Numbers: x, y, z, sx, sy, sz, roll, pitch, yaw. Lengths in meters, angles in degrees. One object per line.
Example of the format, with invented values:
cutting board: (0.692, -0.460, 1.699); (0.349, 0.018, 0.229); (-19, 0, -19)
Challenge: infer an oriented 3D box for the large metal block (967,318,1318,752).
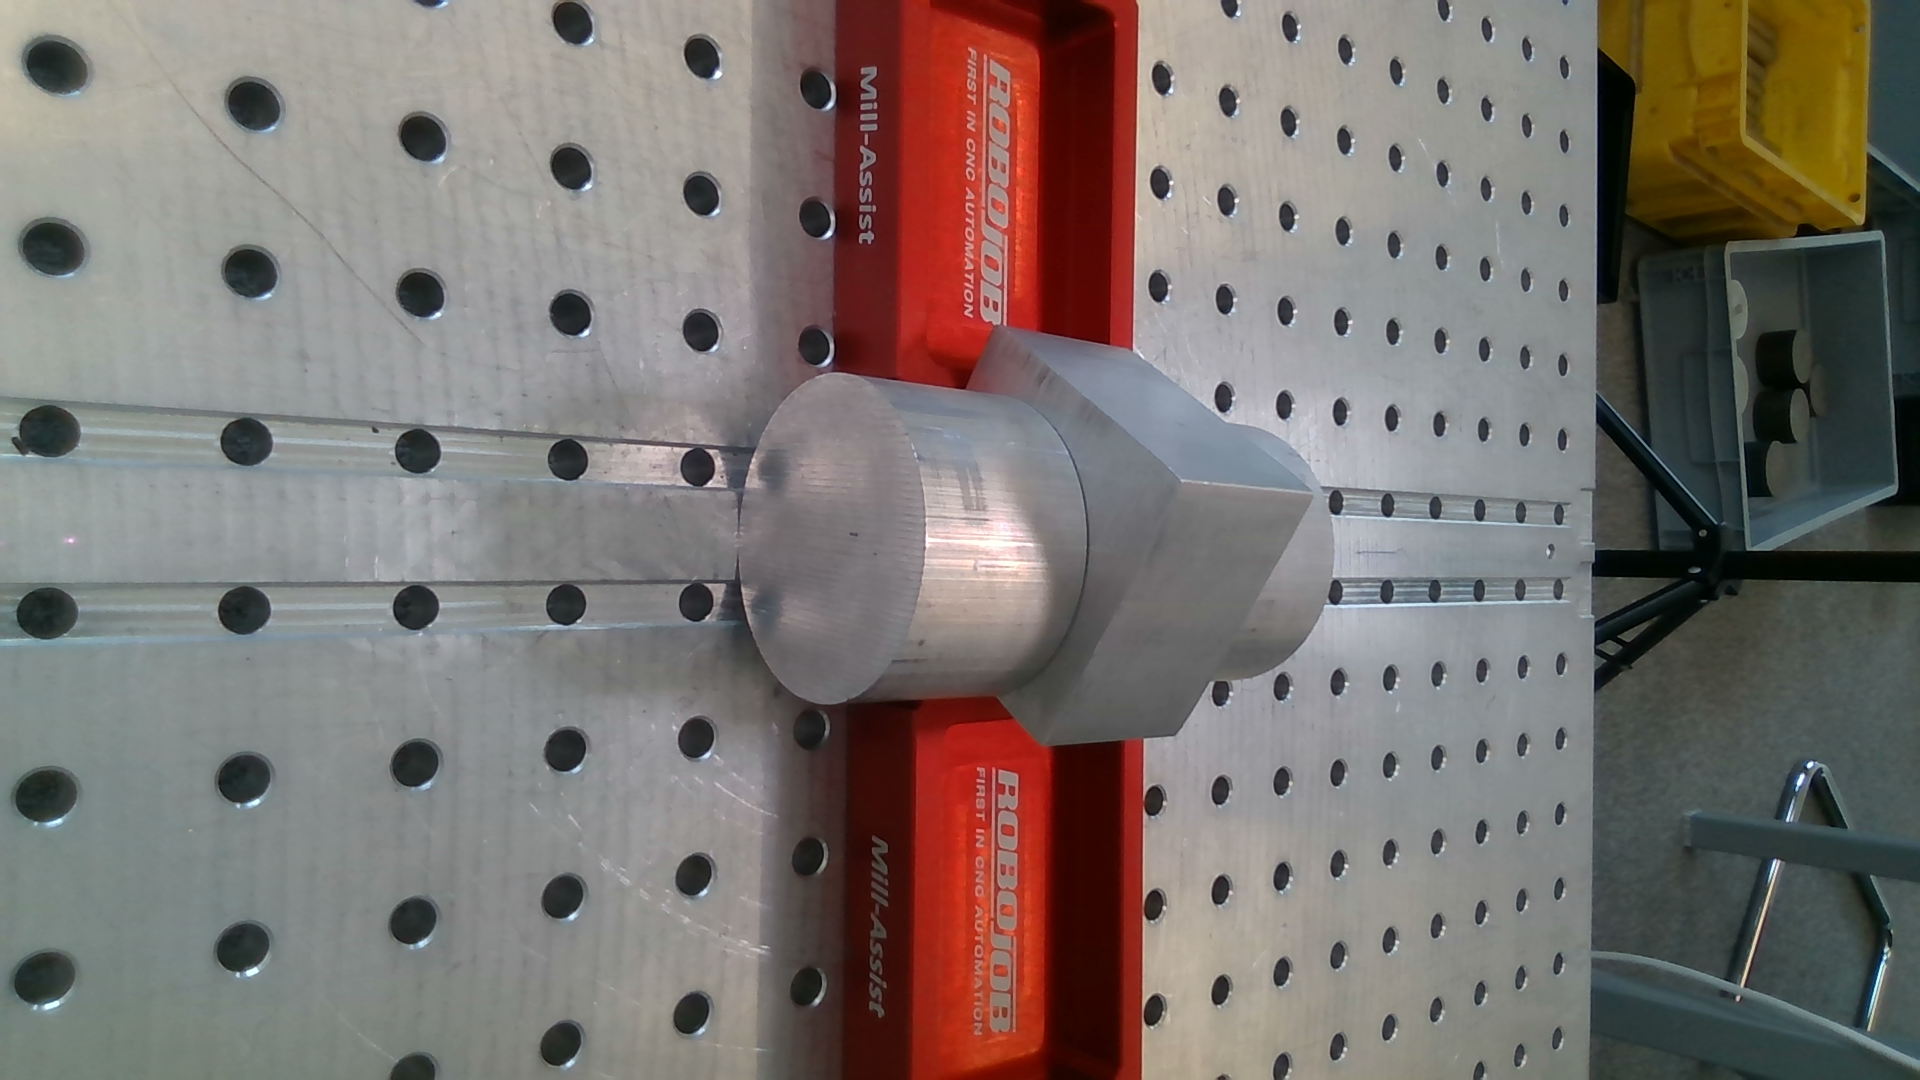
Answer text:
large metal block: (0.034, -0.002, 0.368); (0.050, 0.080, 0.080); (3, 122, -41)

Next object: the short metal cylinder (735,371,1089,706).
short metal cylinder: (-0.014, 0.000, 0.346); (0.050, 0.080, 0.080); (2, 89, -40)

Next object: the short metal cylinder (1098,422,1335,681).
short metal cylinder: (0.063, 0.003, 0.411); (0.050, 0.080, 0.080); (2, 89, -40)

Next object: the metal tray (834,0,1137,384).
metal tray: (0.009, -0.102, 0.398); (0.090, 0.030, 0.130); (1, 89, -40)

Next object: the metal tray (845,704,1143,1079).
metal tray: (0.012, 0.105, 0.401); (0.090, 0.030, 0.130); (1, 89, -40)
